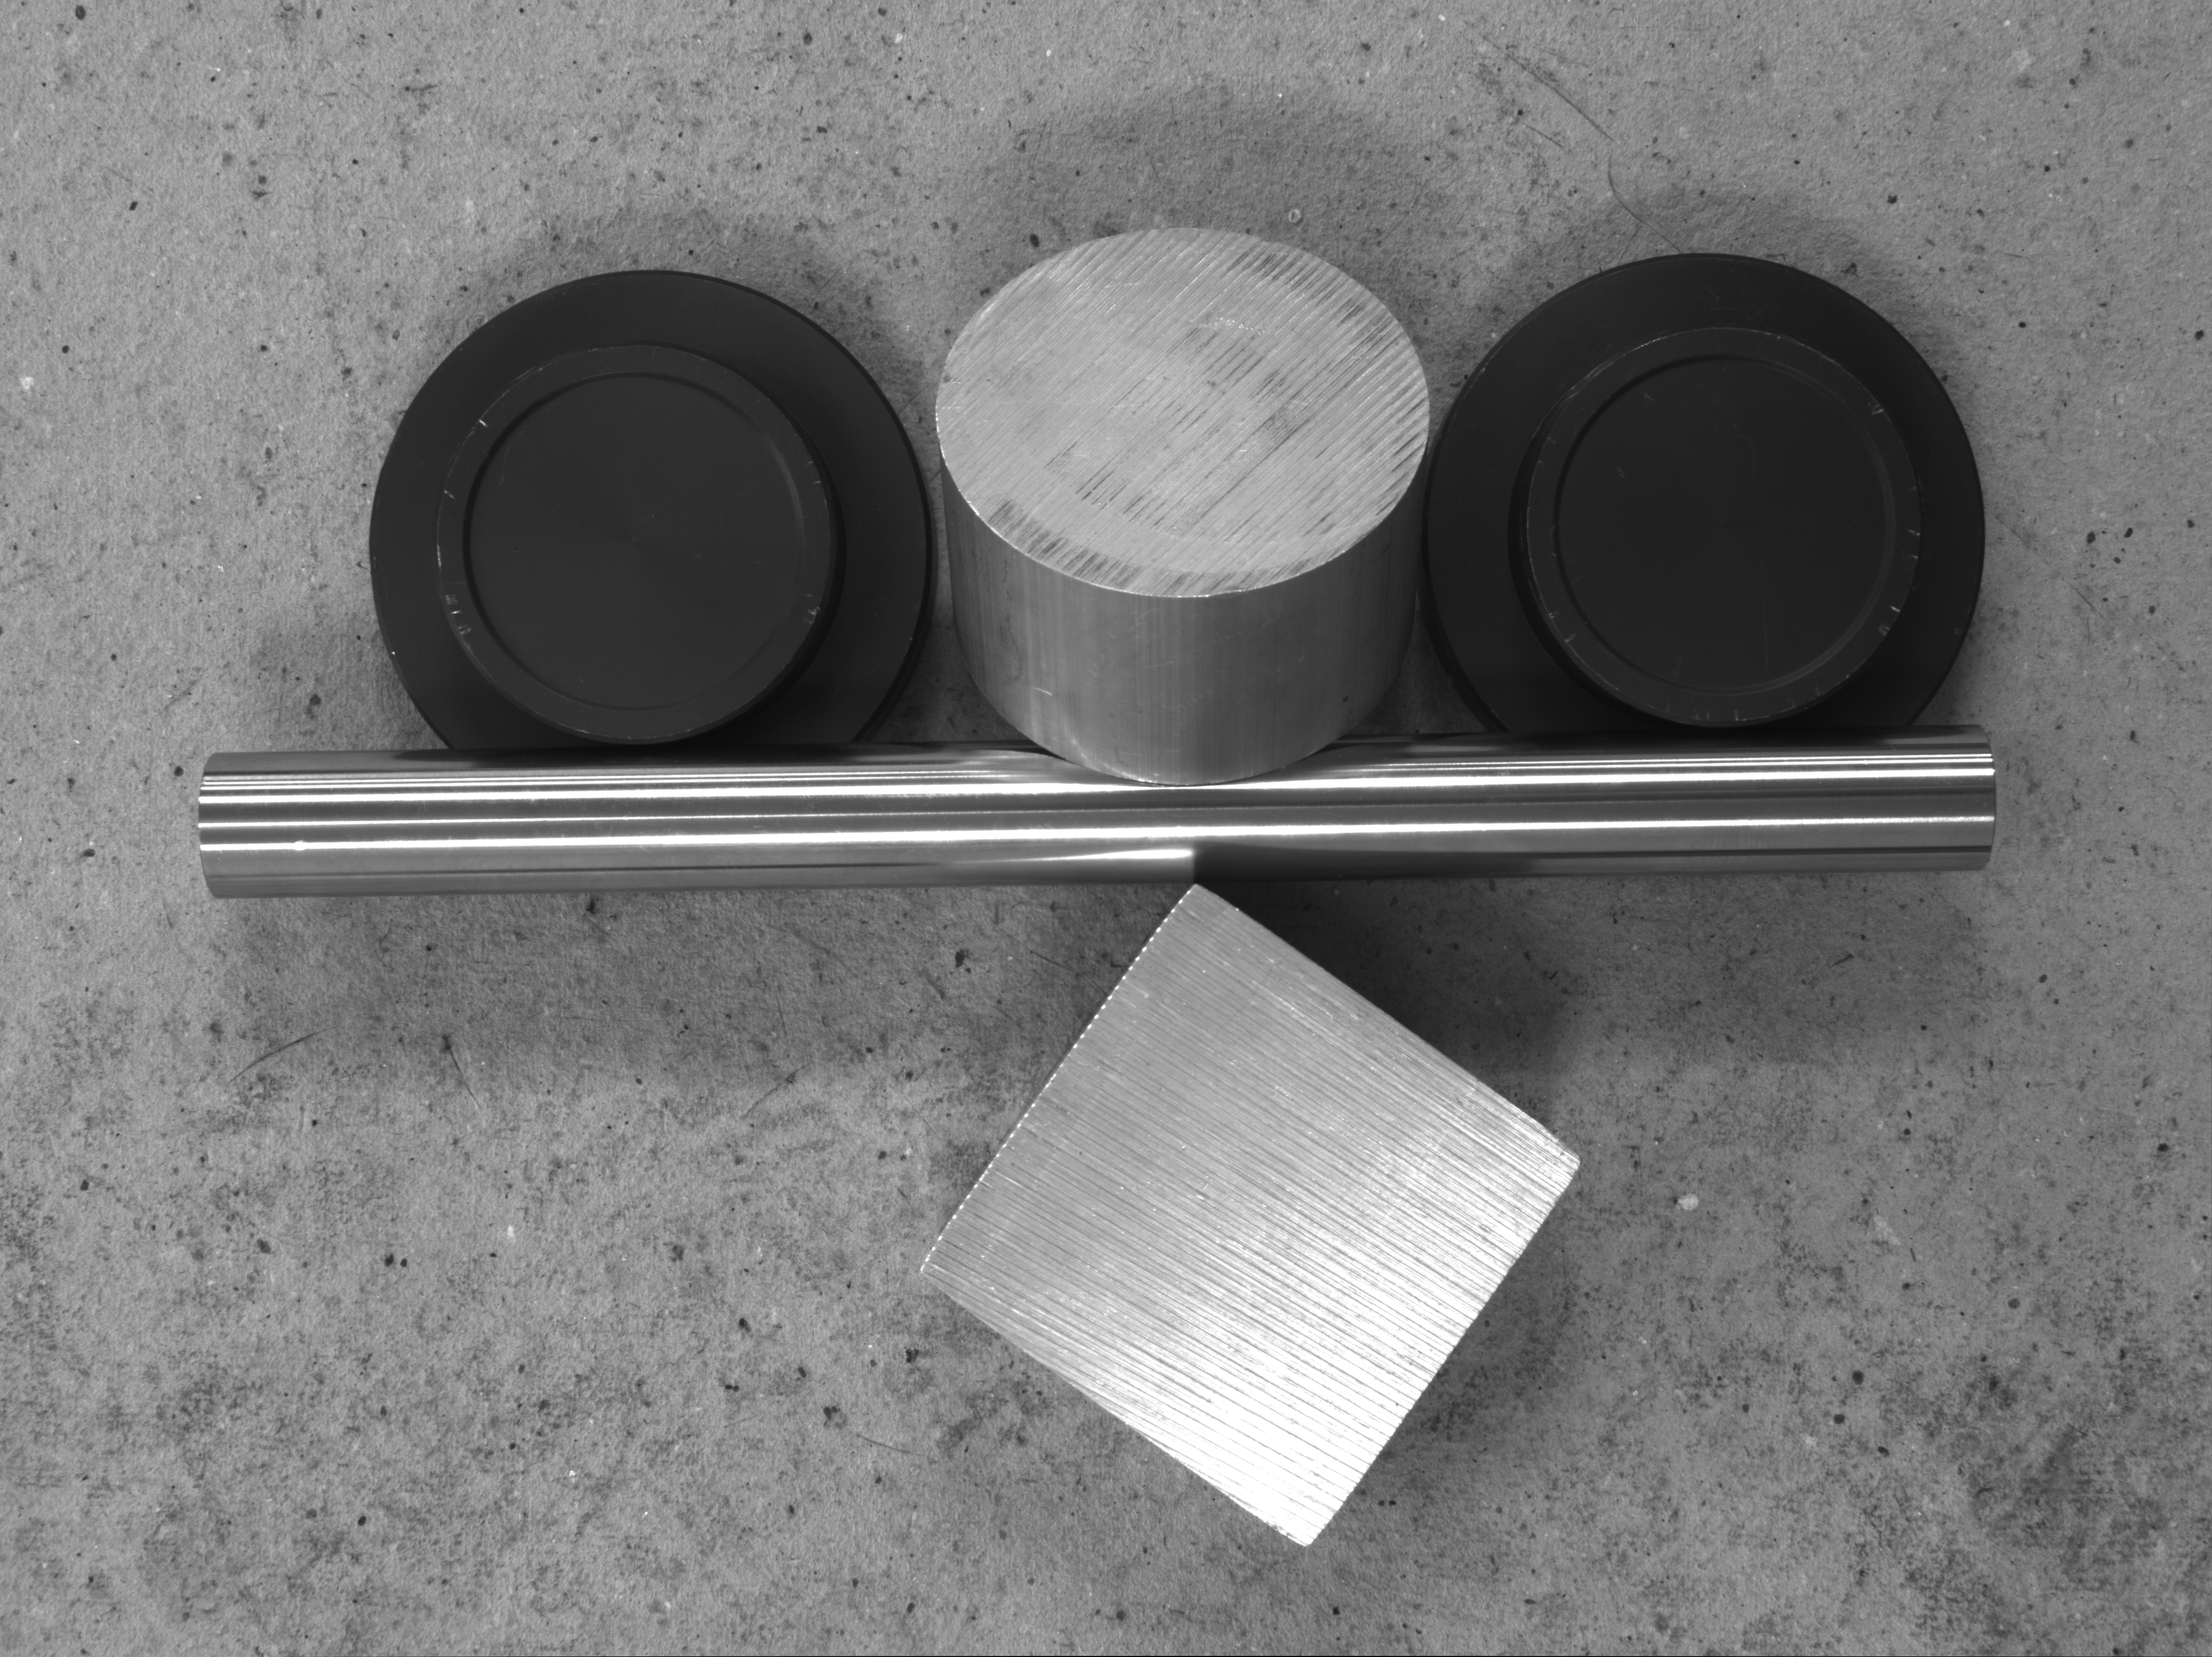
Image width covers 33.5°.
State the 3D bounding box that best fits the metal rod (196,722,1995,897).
[{"bbox_3d":[-0.002,-0.003,0.625,0.300,0.025,0.025,-1,90,0],"label":"metal rod"}]

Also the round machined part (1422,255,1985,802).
[{"bbox_3d":[0.104,-0.051,0.638,0.098,0.042,0.098,0,90,0],"label":"round machined part"}]

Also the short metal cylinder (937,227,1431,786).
[{"bbox_3d":[0.013,-0.054,0.615,0.080,0.050,0.080,0,54,0],"label":"short metal cylinder"}]

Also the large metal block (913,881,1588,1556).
[{"bbox_3d":[0.024,0.064,0.631,0.080,0.050,0.080,35,90,0],"label":"large metal block"}]

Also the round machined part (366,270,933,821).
[{"bbox_3d":[-0.080,-0.048,0.637,0.098,0.042,0.098,0,90,0],"label":"round machined part"}]
